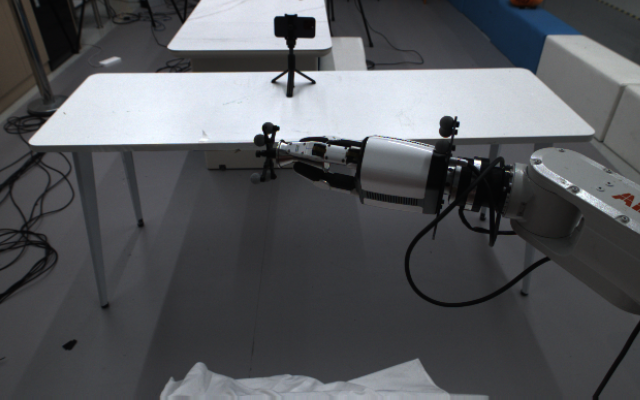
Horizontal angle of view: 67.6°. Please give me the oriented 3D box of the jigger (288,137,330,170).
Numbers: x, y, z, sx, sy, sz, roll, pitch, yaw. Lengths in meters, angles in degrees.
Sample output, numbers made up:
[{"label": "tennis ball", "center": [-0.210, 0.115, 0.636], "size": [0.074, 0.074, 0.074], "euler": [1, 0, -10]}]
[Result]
[{"label": "jigger", "center": [-0.016, -0.064, 0.667], "size": [0.071, 0.043, 0.043], "euler": [5, 34, 14]}]
